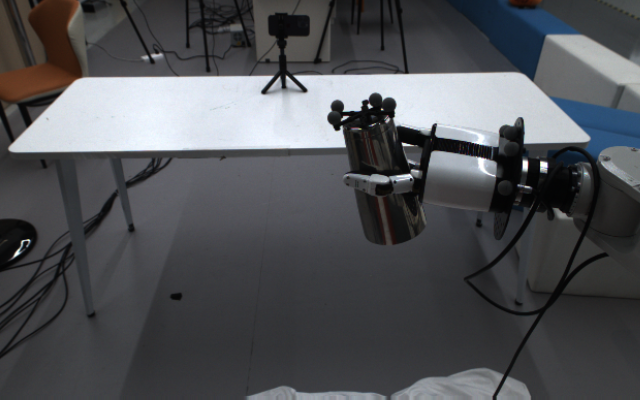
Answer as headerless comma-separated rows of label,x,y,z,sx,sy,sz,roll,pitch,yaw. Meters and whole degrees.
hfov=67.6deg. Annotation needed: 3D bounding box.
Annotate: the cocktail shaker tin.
cocktail shaker tin,0.085,-0.035,0.660,0.093,0.170,0.093,-15,29,8
